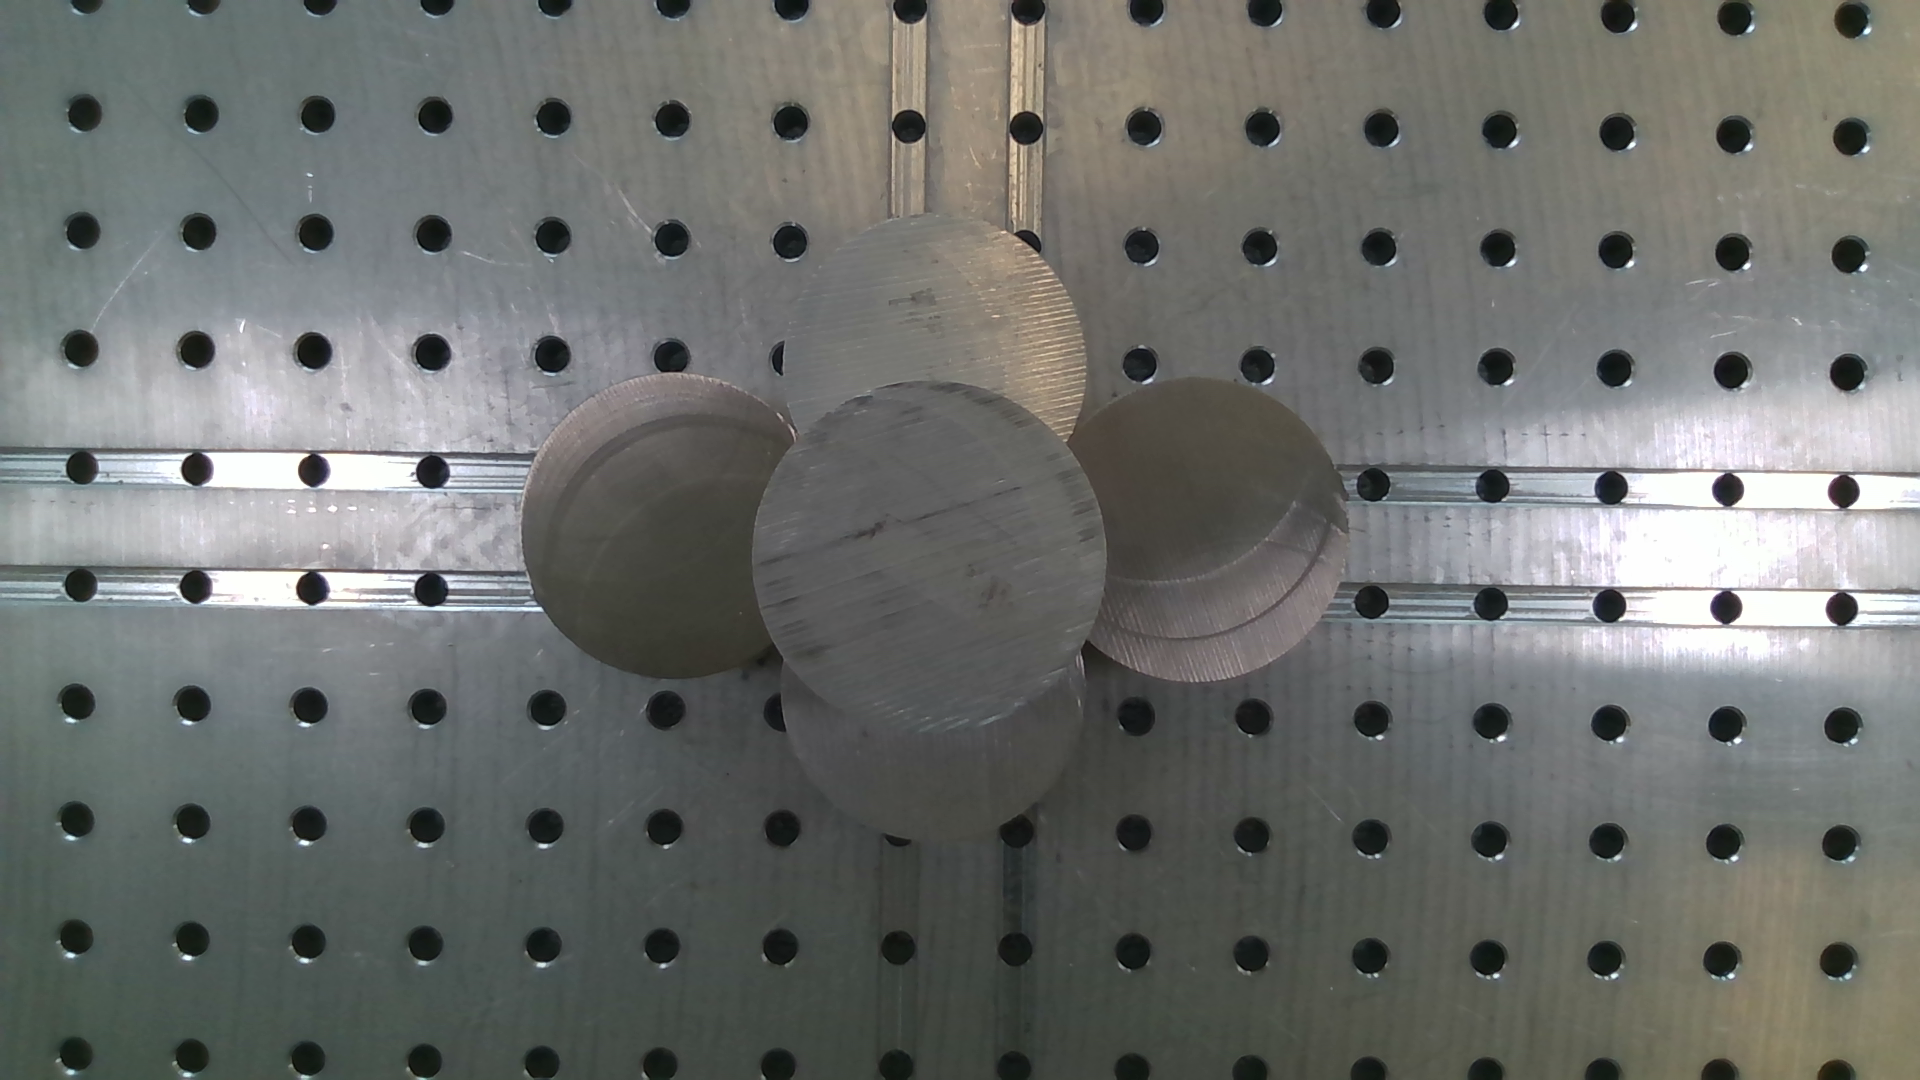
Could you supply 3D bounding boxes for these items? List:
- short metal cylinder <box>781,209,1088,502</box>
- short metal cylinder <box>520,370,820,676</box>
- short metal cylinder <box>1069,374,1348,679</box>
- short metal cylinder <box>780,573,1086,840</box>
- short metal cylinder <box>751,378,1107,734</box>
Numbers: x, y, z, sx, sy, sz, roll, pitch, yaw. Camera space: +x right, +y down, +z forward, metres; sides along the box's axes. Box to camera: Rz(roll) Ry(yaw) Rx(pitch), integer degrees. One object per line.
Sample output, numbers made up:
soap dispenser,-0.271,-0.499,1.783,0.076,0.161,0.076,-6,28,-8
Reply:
short metal cylinder,-0.007,-0.046,0.385,0.080,0.050,0.080,0,90,0
short metal cylinder,-0.075,-0.005,0.384,0.080,0.050,0.080,0,90,-2
short metal cylinder,0.062,-0.004,0.385,0.080,0.050,0.080,0,91,0
short metal cylinder,-0.007,0.039,0.385,0.080,0.050,0.080,0,90,0
short metal cylinder,-0.007,0.004,0.334,0.080,0.050,0.080,0,90,0
